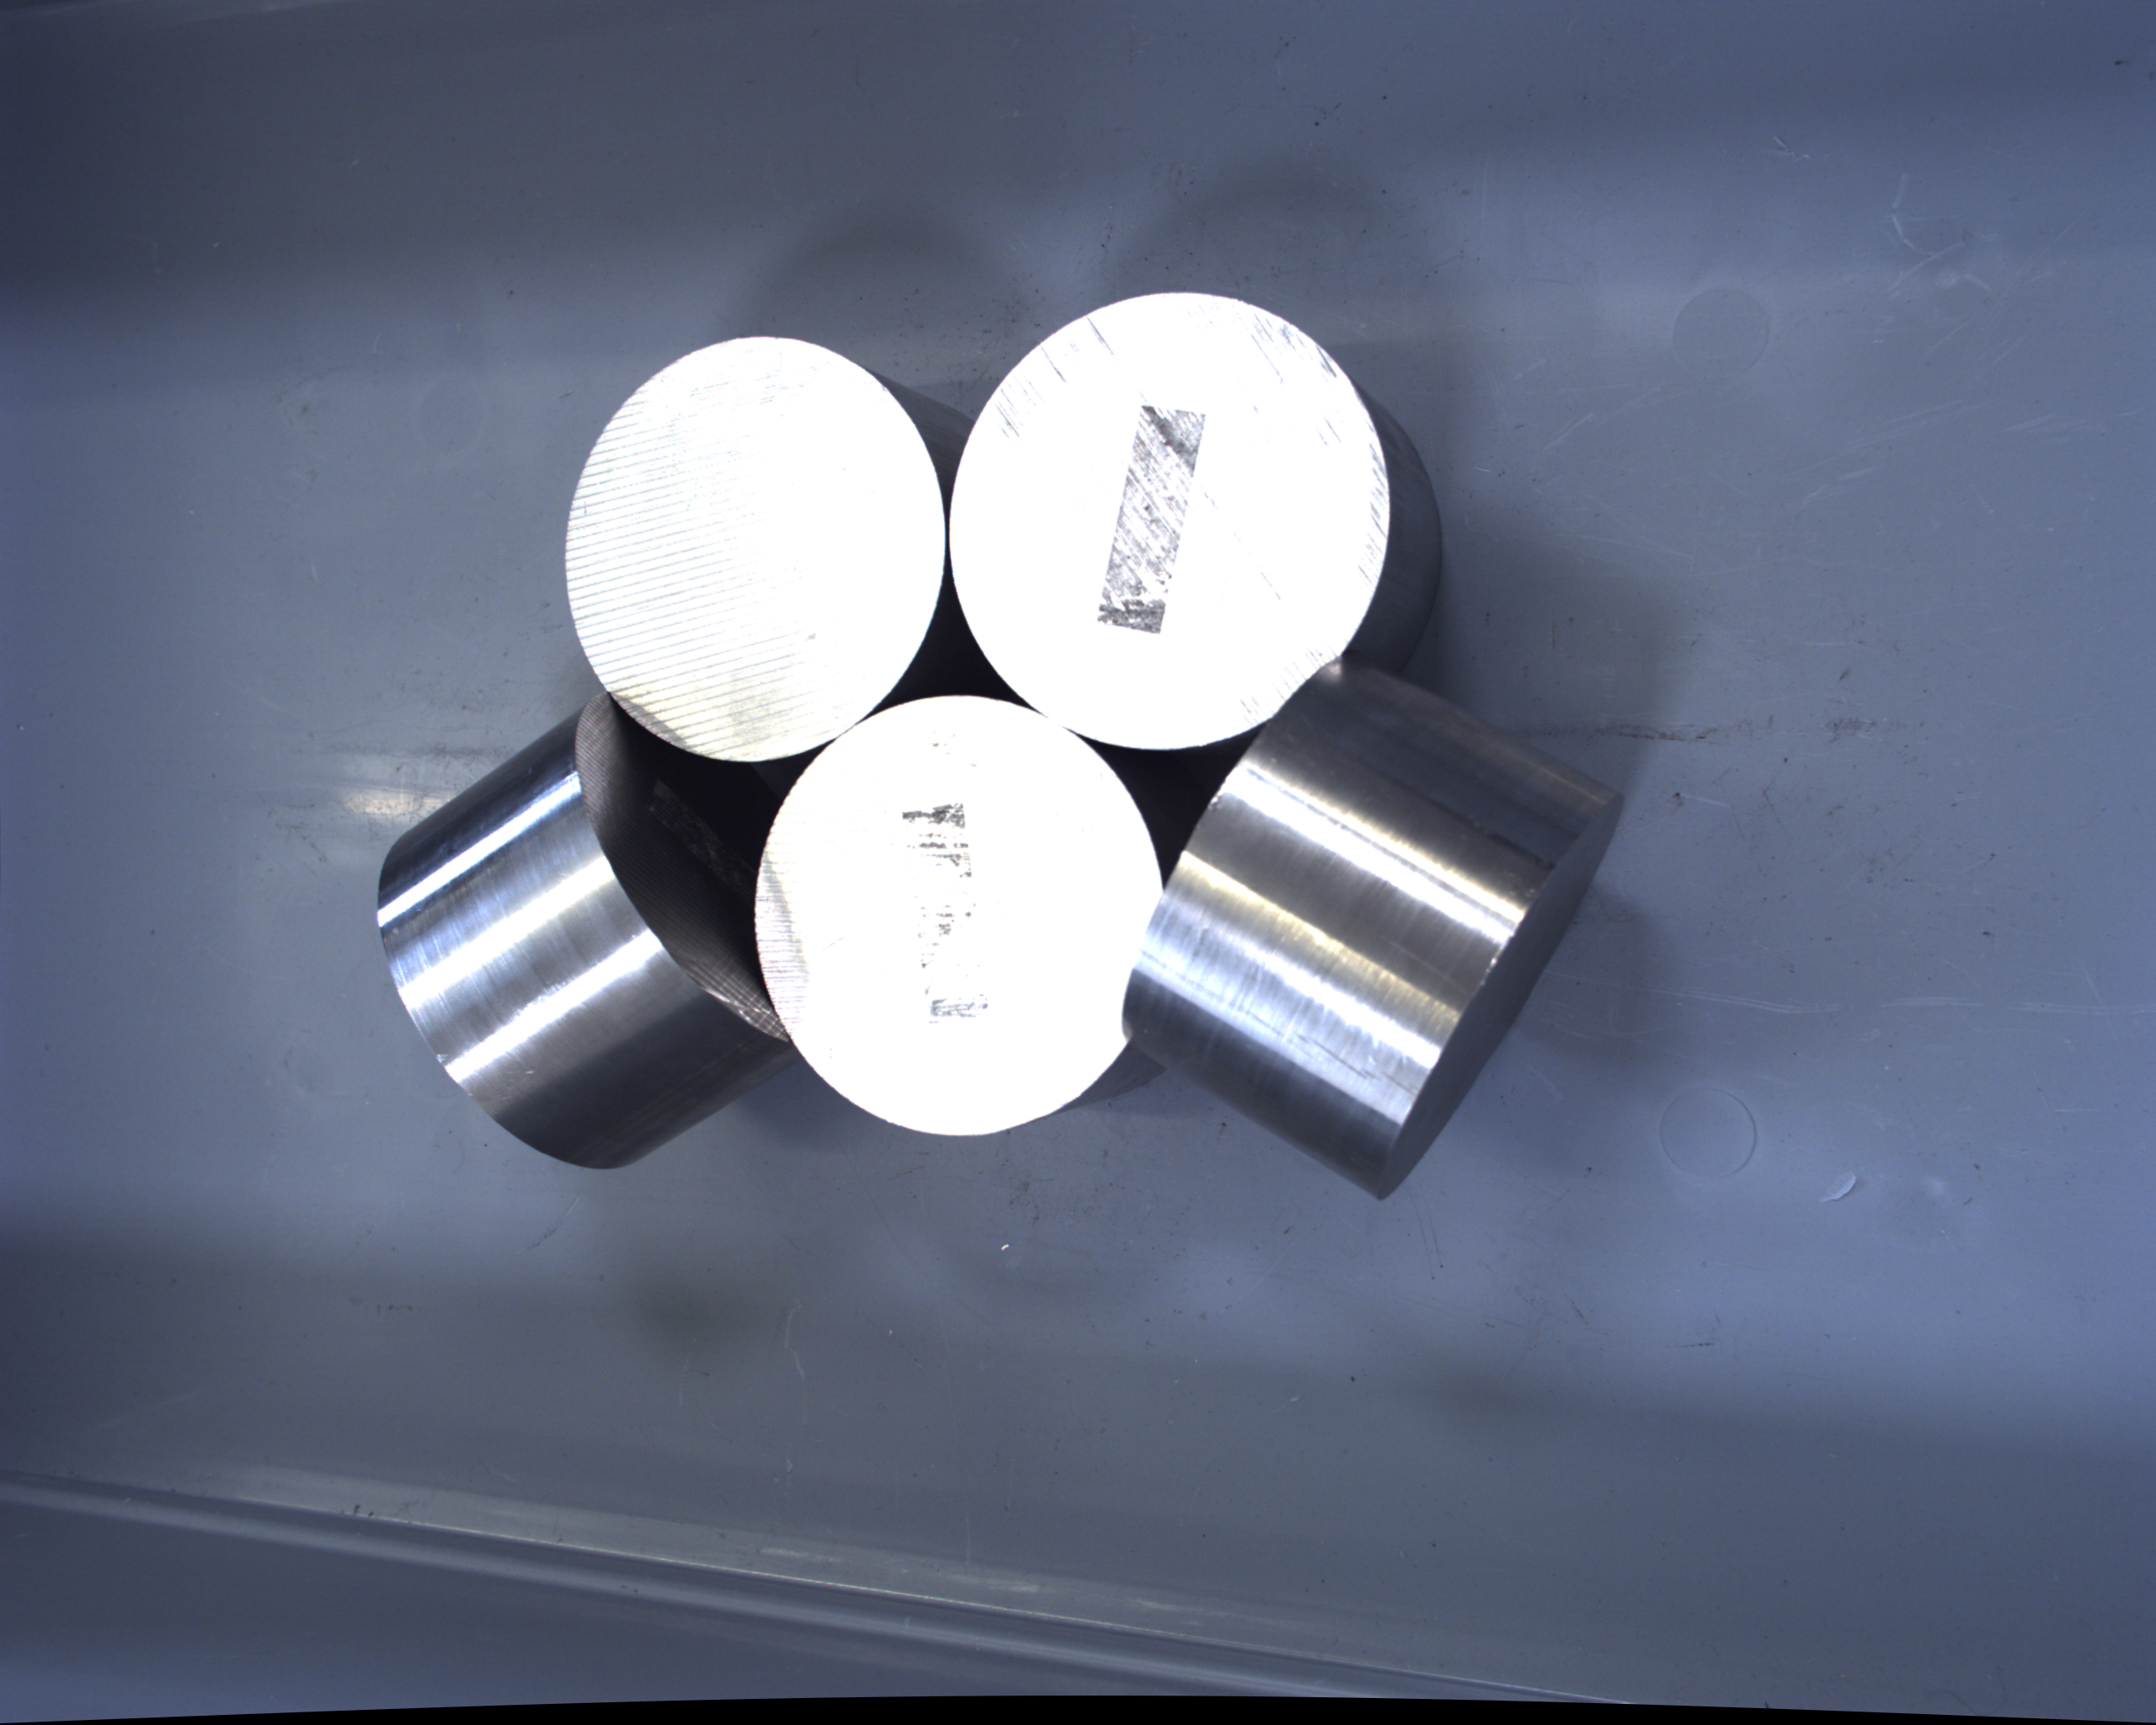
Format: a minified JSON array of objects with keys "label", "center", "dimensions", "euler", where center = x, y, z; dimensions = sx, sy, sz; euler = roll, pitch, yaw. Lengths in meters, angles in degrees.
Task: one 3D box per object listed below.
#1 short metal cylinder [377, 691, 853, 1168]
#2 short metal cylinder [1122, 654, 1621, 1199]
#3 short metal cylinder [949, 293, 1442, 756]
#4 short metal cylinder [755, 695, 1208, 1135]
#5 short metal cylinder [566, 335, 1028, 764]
[{"label":"short metal cylinder","center":[-0.089,0.013,0.411],"dimensions":[0.050,0.080,0.080],"euler":[-32,80,17]},{"label":"short metal cylinder","center":[0.051,0.011,0.361],"dimensions":[0.050,0.080,0.080],"euler":[31,100,17]},{"label":"short metal cylinder","center":[0.023,-0.060,0.387],"dimensions":[0.080,0.050,0.080],"euler":[0,90,20]},{"label":"short metal cylinder","center":[-0.014,0.009,0.400],"dimensions":[0.080,0.050,0.080],"euler":[0,90,20]},{"label":"short metal cylinder","center":[-0.053,-0.059,0.414],"dimensions":[0.080,0.050,0.080],"euler":[0,90,20]}]
